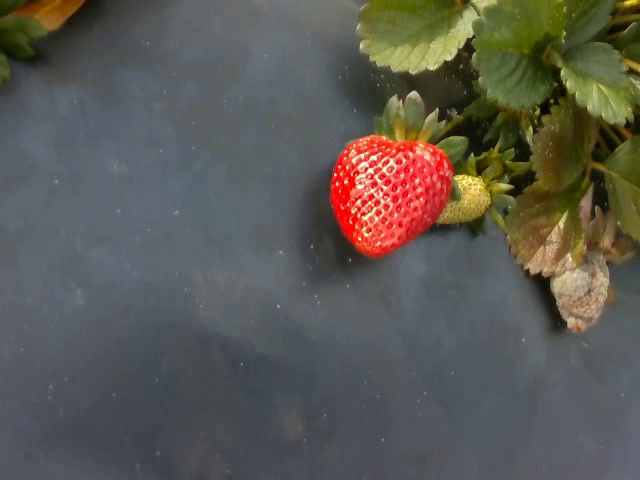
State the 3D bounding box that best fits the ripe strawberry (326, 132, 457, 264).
[{"bbox_3d":[0.022,-0.014,0.203,0.045,0.058,0.050,33,-39,-14],"label":"ripe strawberry"}]
